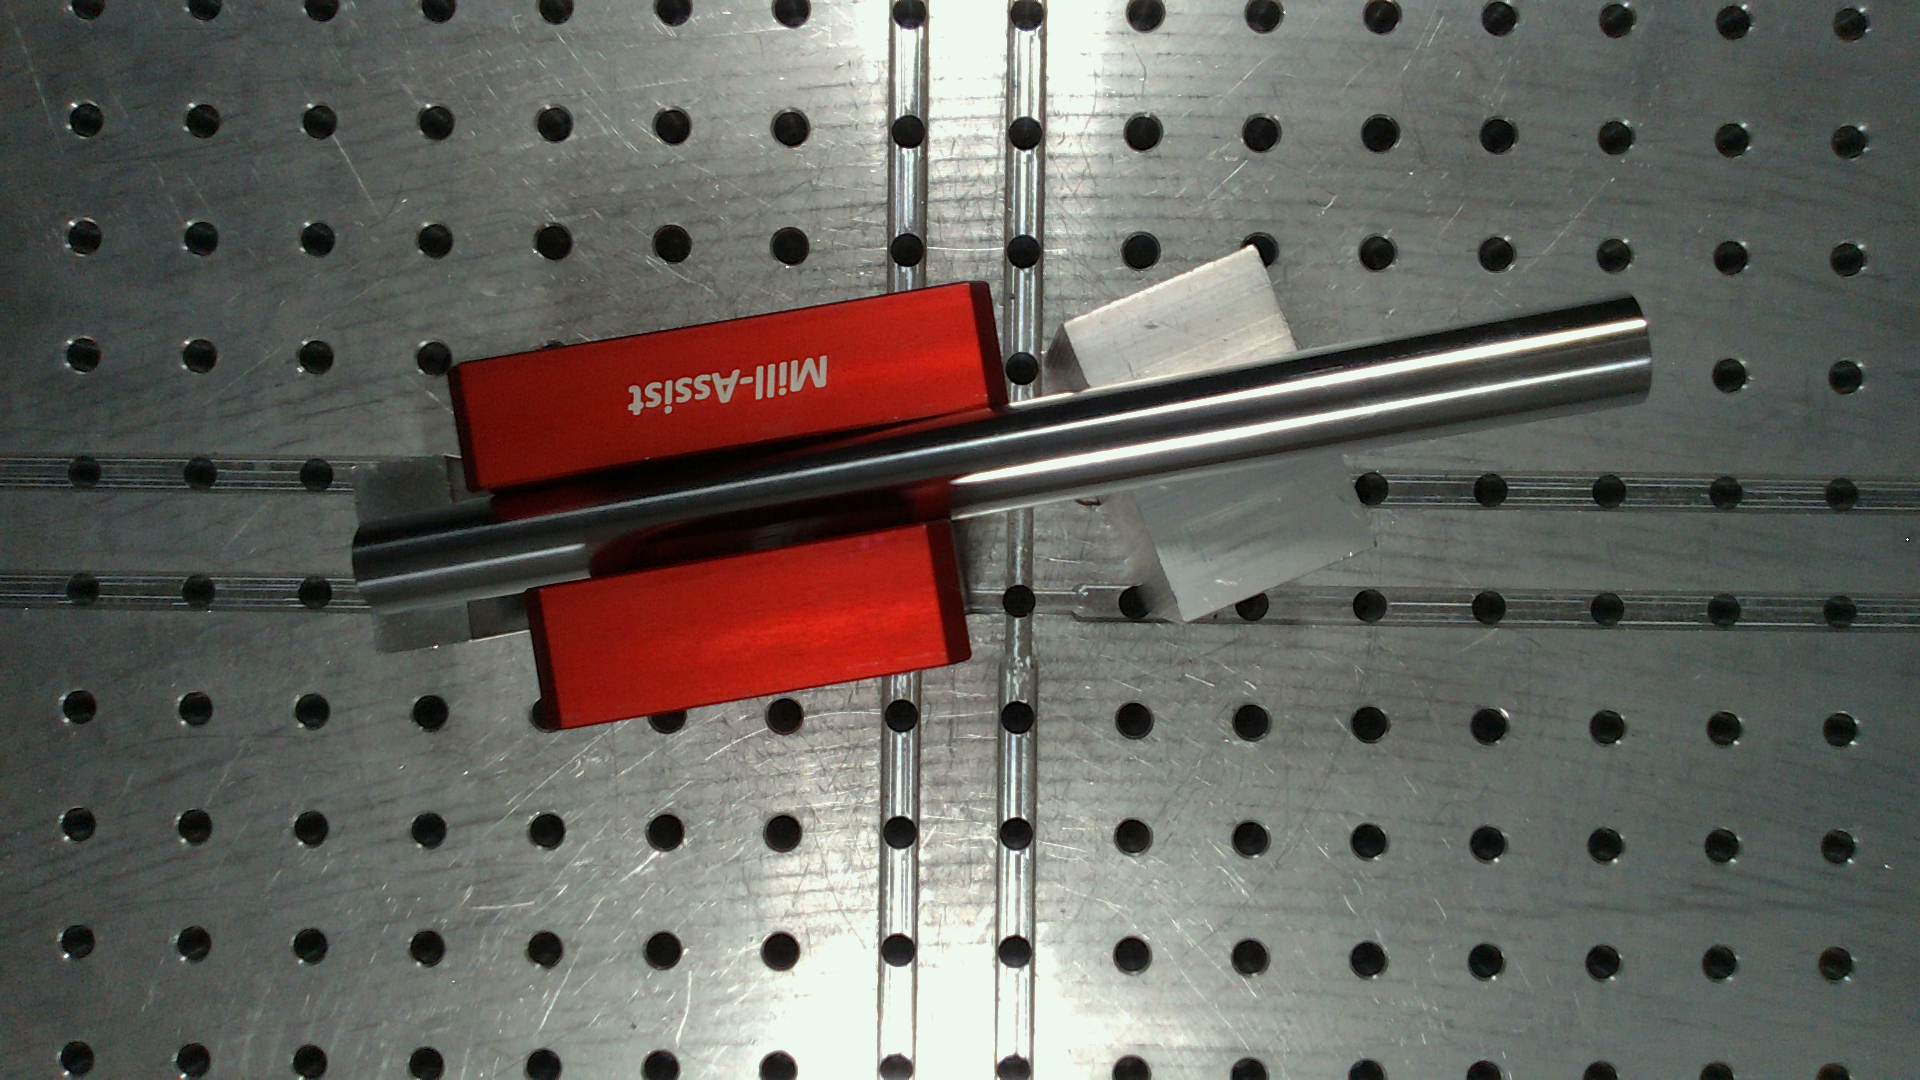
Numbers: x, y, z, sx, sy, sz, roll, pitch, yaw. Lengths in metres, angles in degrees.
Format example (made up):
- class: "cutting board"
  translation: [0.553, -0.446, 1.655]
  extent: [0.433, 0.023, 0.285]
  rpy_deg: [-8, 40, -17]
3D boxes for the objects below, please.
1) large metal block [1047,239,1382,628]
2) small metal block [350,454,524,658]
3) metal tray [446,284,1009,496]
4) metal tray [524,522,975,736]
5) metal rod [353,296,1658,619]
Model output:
- class: "large metal block"
  translation: [0.063, -0.026, 0.369]
  extent: [0.050, 0.080, 0.080]
  rpy_deg: [-23, 90, 0]
- class: "small metal block"
  translation: [-0.143, 0.004, 0.384]
  extent: [0.025, 0.050, 0.050]
  rpy_deg: [-8, 90, 0]
- class: "metal tray"
  translation: [-0.054, -0.036, 0.364]
  extent: [0.130, 0.090, 0.030]
  rpy_deg: [-9, 91, 0]
- class: "metal tray"
  translation: [-0.044, 0.018, 0.345]
  extent: [0.090, 0.130, 0.030]
  rpy_deg: [-10, 91, 0]
- class: "metal rod"
  translation: [0.001, -0.016, 0.322]
  extent: [0.300, 0.025, 0.025]
  rpy_deg: [-9, 90, 9]
